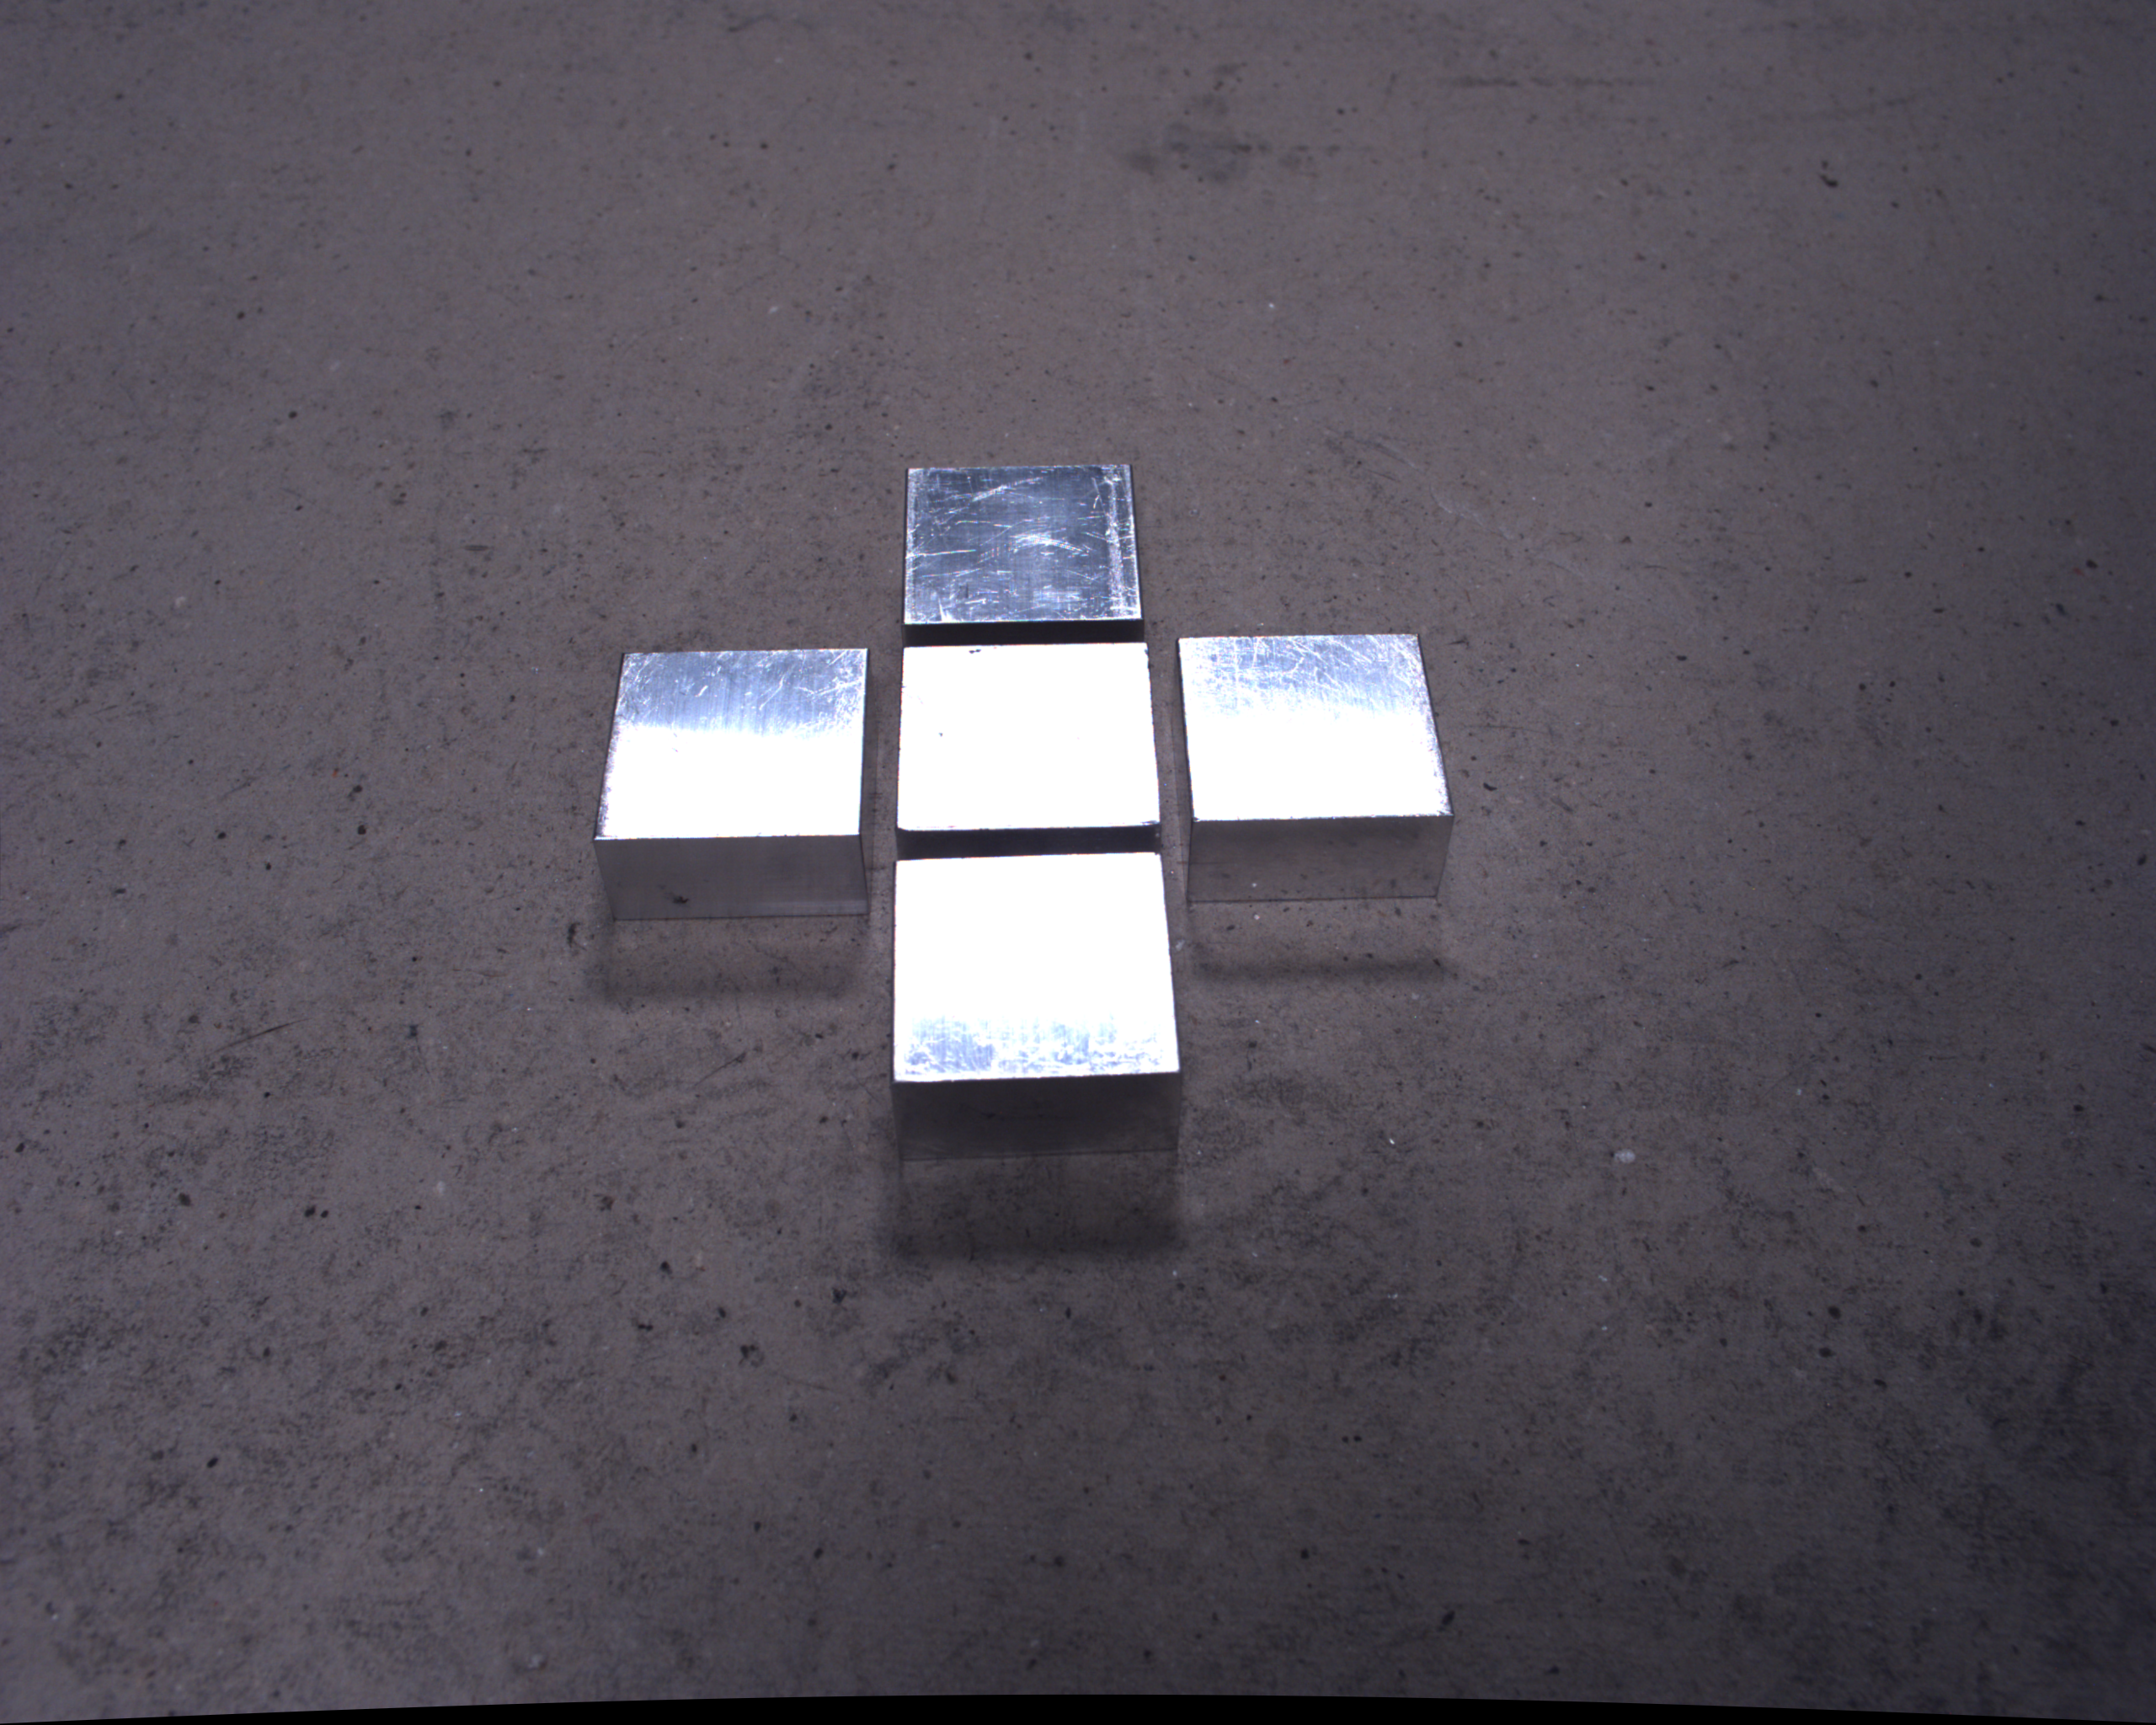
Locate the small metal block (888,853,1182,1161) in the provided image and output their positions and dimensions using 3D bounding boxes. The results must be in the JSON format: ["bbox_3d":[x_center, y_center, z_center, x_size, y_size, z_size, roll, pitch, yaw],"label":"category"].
[{"bbox_3d":[-0.008,0.026,0.383,0.050,0.025,0.050,-2,50,-2],"label":"small metal block"}]

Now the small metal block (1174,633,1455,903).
[{"bbox_3d":[0.046,-0.020,0.422,0.050,0.025,0.050,-1,50,-2],"label":"small metal block"}]

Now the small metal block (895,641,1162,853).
[{"bbox_3d":[-0.010,-0.018,0.420,0.050,0.025,0.050,-1,50,-2],"label":"small metal block"}]

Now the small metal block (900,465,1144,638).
[{"bbox_3d":[-0.012,-0.061,0.456,0.050,0.025,0.050,-1,50,-2],"label":"small metal block"}]

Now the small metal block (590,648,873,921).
[{"bbox_3d":[-0.067,-0.016,0.417,0.050,0.025,0.050,-1,50,-2],"label":"small metal block"}]
